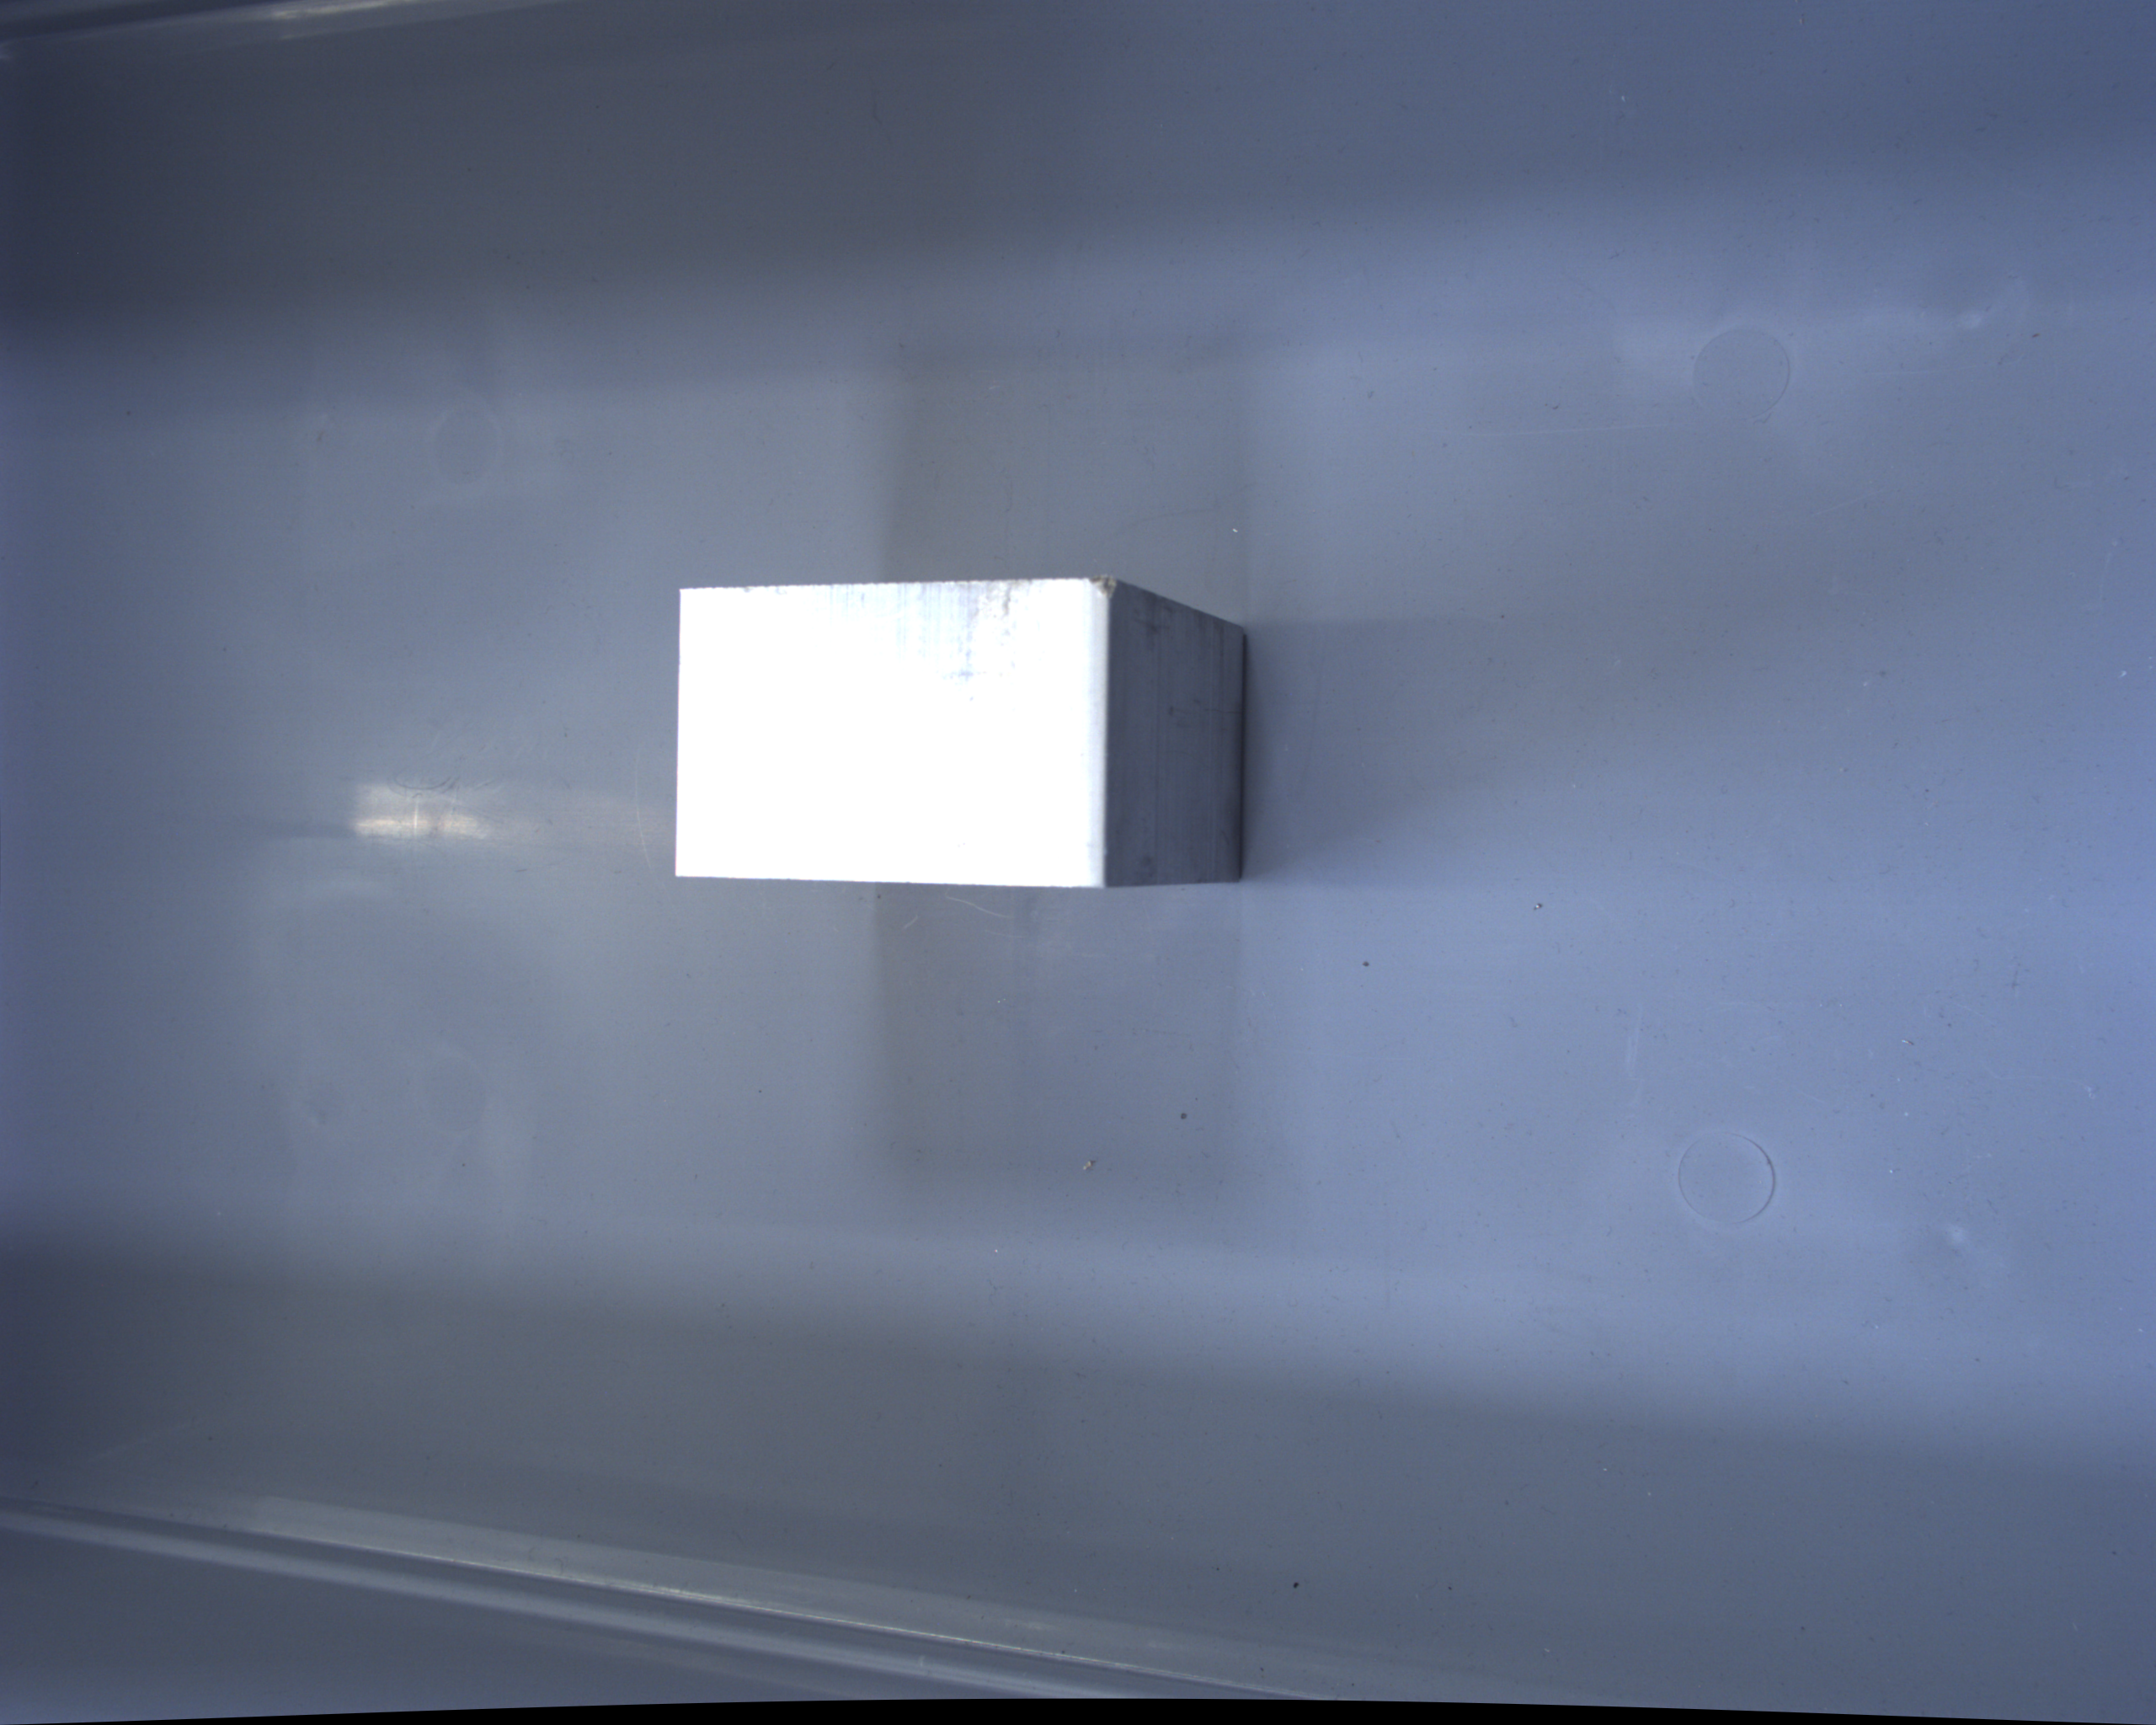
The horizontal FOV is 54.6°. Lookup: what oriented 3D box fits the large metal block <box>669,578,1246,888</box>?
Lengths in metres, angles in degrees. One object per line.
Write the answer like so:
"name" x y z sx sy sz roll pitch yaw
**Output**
"large metal block" -0.019 -0.022 0.386 0.080 0.080 0.050 1 91 20
